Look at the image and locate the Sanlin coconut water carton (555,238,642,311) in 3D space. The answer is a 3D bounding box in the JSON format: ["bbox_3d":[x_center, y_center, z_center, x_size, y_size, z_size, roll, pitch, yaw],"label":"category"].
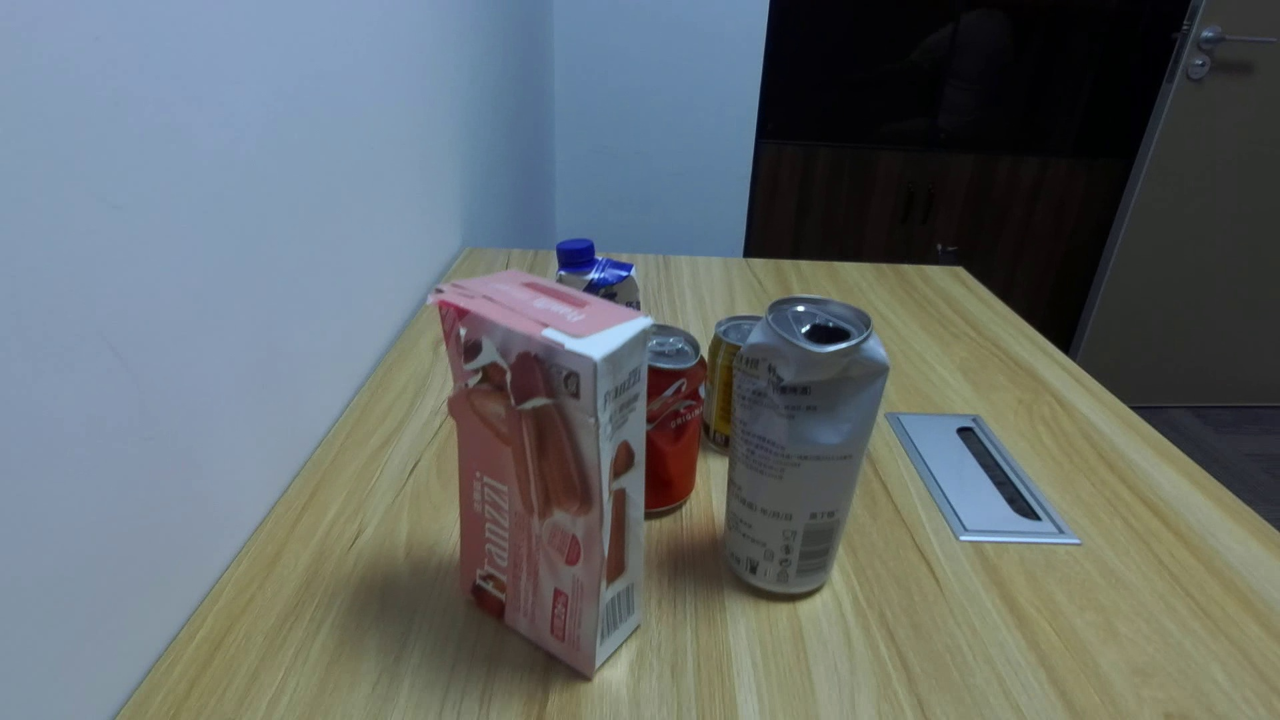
[{"bbox_3d":[-0.038,-0.021,0.554,0.068,0.145,0.057,16,38,11],"label":"Sanlin coconut water carton"}]

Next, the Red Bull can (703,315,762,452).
[{"bbox_3d":[0.081,0.020,0.490,0.067,0.093,0.067,-1,23,1],"label":"Red Bull can"}]

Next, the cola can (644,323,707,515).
[{"bbox_3d":[0.006,0.036,0.464,0.072,0.117,0.065,-17,33,-36],"label":"cola can"}]

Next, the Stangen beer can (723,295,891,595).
[{"bbox_3d":[0.085,0.051,0.389,0.066,0.166,0.065,-13,32,-27],"label":"Stangen beer can"}]

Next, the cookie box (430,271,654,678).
[{"bbox_3d":[-0.047,0.060,0.347,0.104,0.186,0.059,19,29,32],"label":"cookie box"}]
